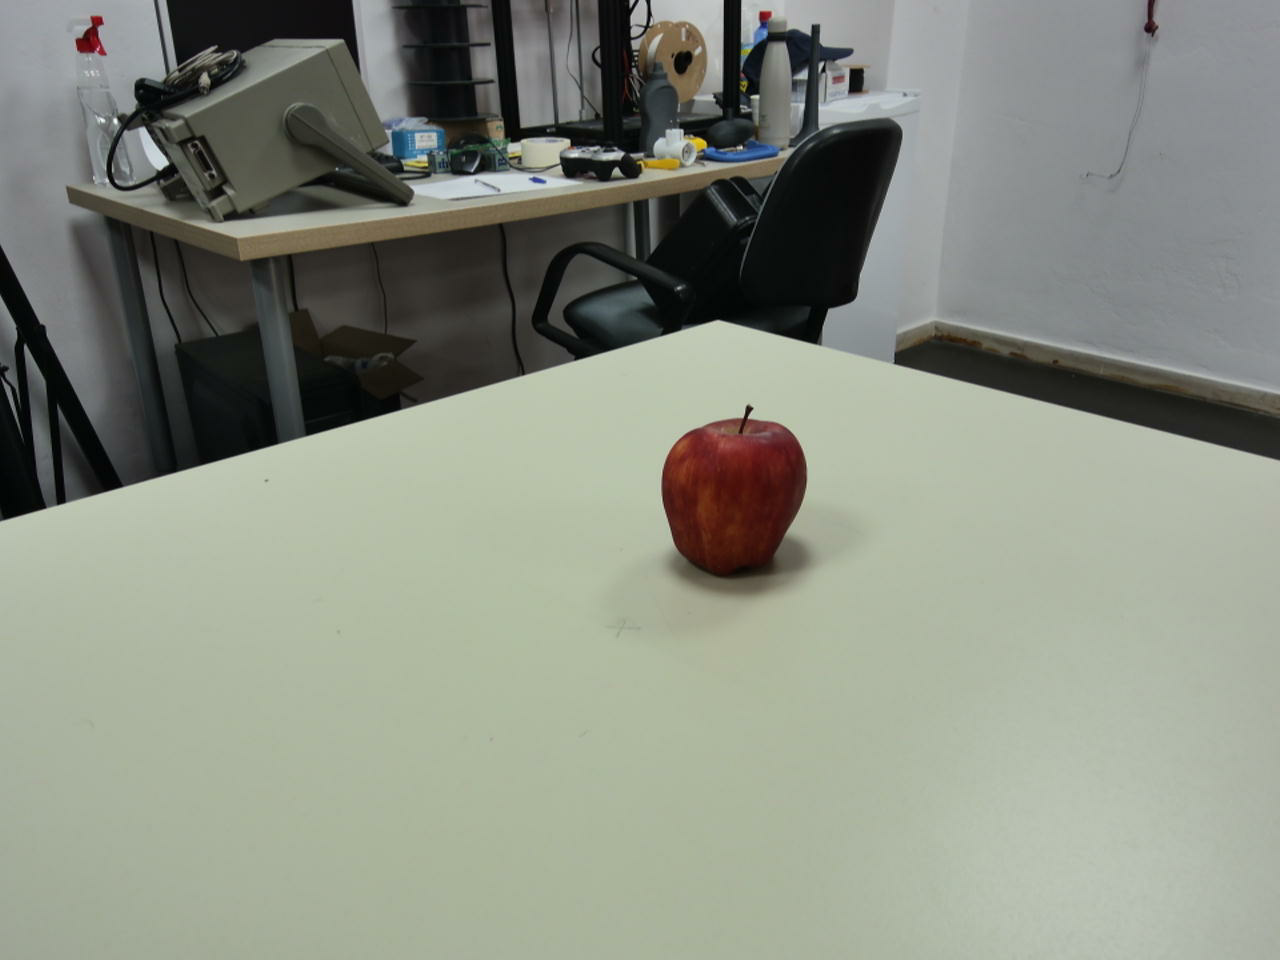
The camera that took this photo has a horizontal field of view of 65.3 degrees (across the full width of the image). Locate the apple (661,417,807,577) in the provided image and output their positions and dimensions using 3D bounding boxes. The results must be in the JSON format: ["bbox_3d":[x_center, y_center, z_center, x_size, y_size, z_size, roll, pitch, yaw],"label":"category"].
[{"bbox_3d":[0.053,0.002,0.551,0.083,0.090,0.083,1,24,0],"label":"apple"}]
